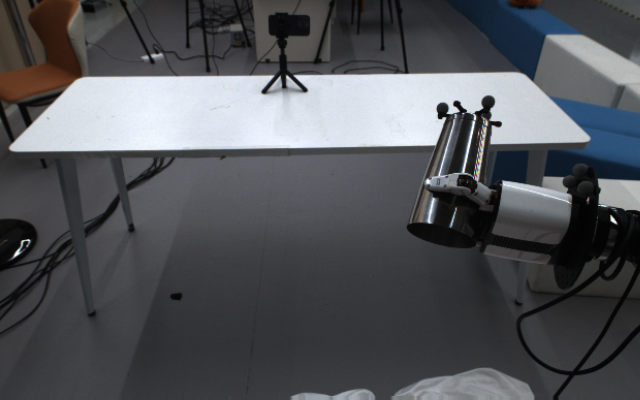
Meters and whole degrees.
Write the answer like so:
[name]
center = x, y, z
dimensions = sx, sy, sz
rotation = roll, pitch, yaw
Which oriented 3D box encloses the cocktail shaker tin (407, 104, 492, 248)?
[cocktail shaker tin]
center = 0.183, -0.030, 0.660
dimensions = 0.093, 0.093, 0.170
rotation = 14, 73, 16
